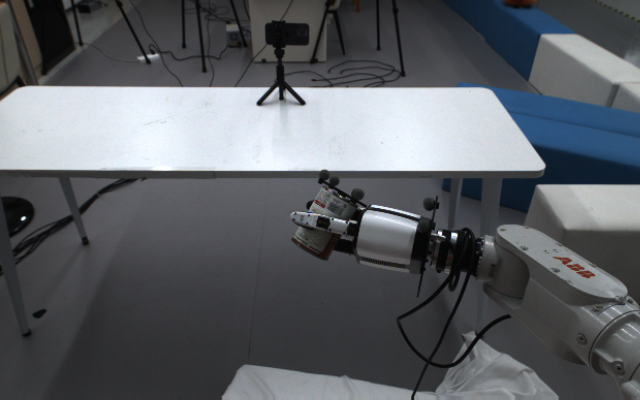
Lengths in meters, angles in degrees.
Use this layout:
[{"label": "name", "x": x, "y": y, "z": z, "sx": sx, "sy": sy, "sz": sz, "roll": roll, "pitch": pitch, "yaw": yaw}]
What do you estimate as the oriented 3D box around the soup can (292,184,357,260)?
[{"label": "soup can", "x": 0.008, "y": 0.037, "z": 0.773, "sx": 0.067, "sy": 0.101, "sz": 0.067, "roll": 30, "pitch": 2, "yaw": -1}]
